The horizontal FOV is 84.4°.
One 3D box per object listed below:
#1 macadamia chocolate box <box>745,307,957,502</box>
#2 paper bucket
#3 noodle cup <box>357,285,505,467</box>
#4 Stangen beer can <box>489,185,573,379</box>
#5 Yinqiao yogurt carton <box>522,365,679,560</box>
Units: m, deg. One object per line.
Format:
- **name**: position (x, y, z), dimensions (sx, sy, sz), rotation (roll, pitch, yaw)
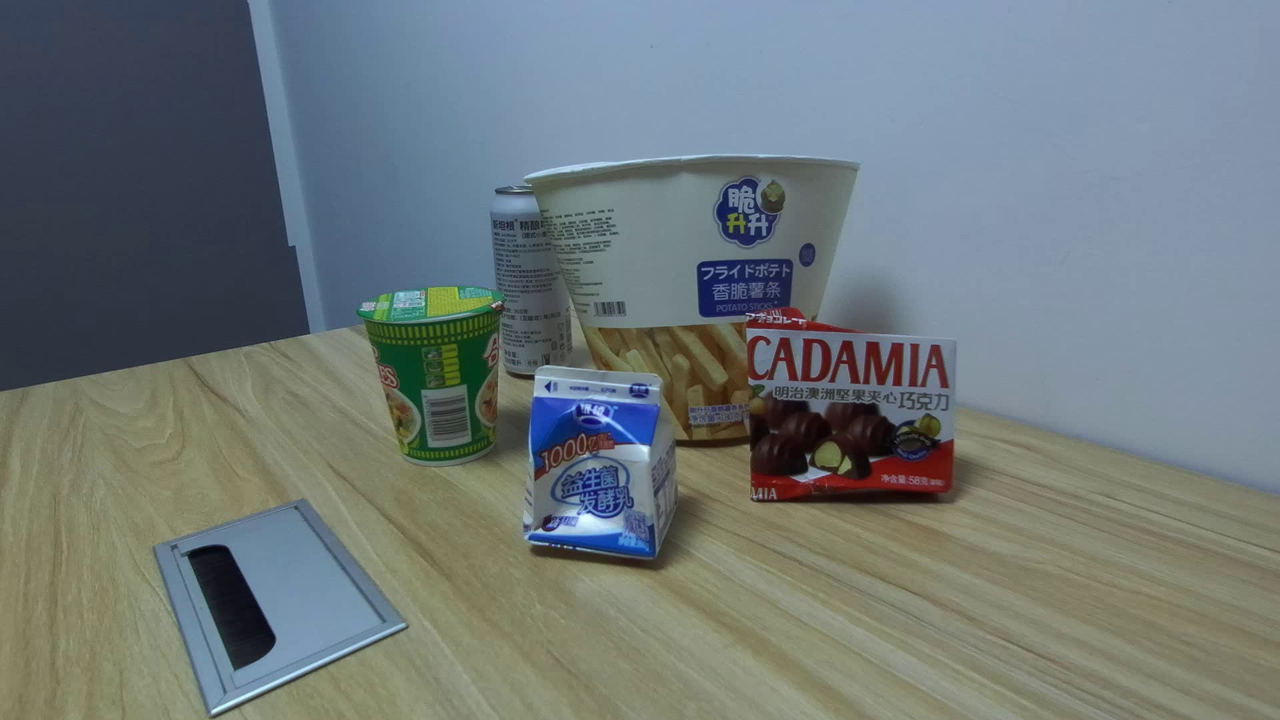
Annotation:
- **macadamia chocolate box**: position (0.127, 0.026, 0.433), dimensions (0.126, 0.112, 0.056), rotation (0, 17, 4)
- **paper bucket**: position (0.043, -0.053, 0.538), dimensions (0.219, 0.199, 0.147), rotation (-13, 21, -34)
- **noodle cup**: position (-0.140, 0.012, 0.499), dimensions (0.097, 0.110, 0.097), rotation (-1, 17, 1)
- **Stangen beer can**: position (-0.099, -0.072, 0.649), dimensions (0.067, 0.171, 0.067), rotation (-2, 19, 1)
- **Yinqiao yogurt carton**: position (-0.021, 0.051, 0.396), dimensions (0.077, 0.094, 0.071), rotation (4, 14, 12)
